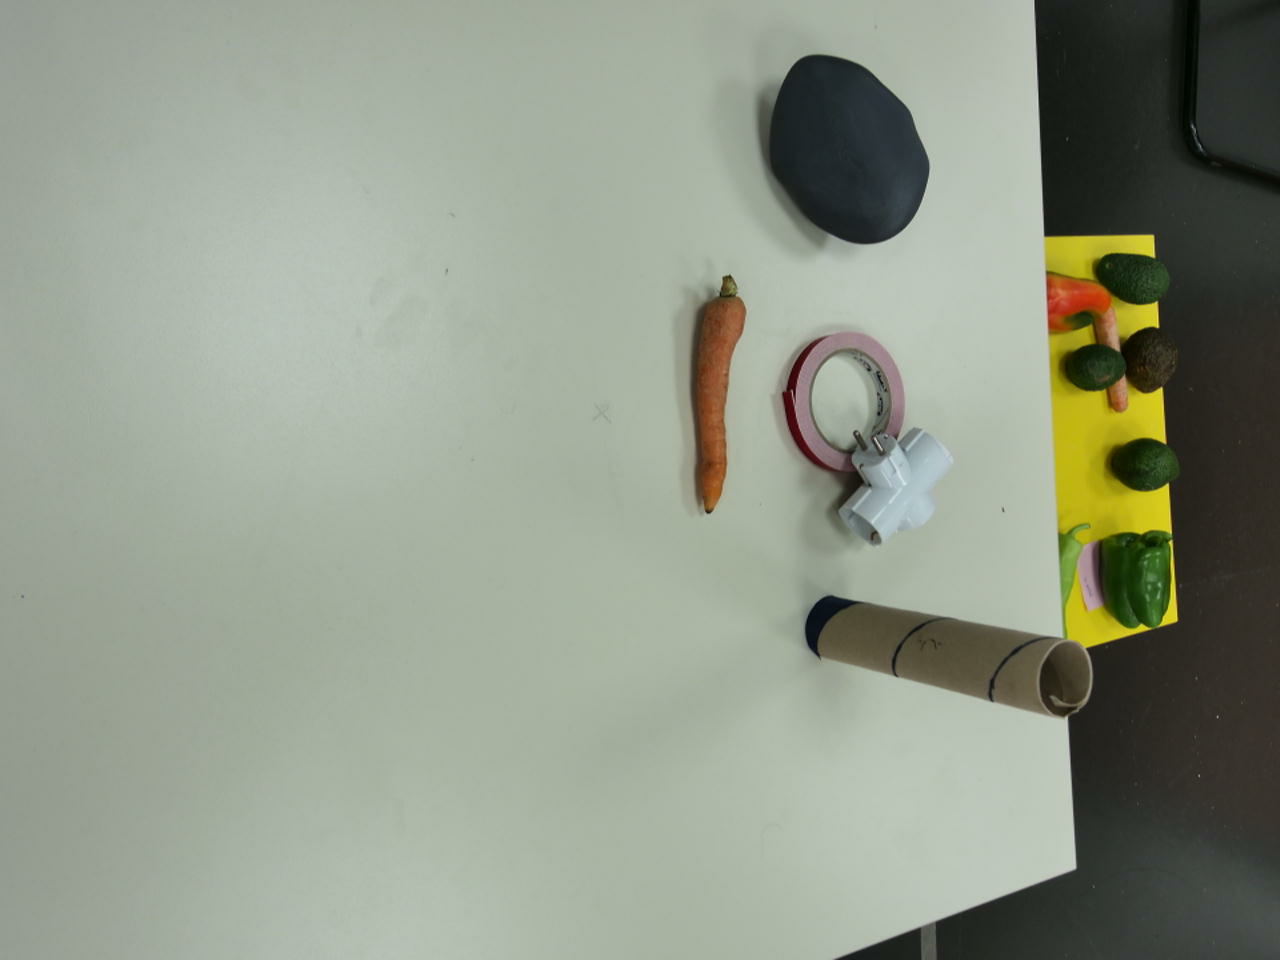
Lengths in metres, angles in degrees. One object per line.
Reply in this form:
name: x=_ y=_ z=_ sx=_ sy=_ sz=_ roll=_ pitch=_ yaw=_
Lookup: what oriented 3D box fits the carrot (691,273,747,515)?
carrot: x=0.056 y=-0.060 z=0.716 sx=0.030 sy=0.032 sz=0.173 roll=6 pitch=88 yaw=-28
